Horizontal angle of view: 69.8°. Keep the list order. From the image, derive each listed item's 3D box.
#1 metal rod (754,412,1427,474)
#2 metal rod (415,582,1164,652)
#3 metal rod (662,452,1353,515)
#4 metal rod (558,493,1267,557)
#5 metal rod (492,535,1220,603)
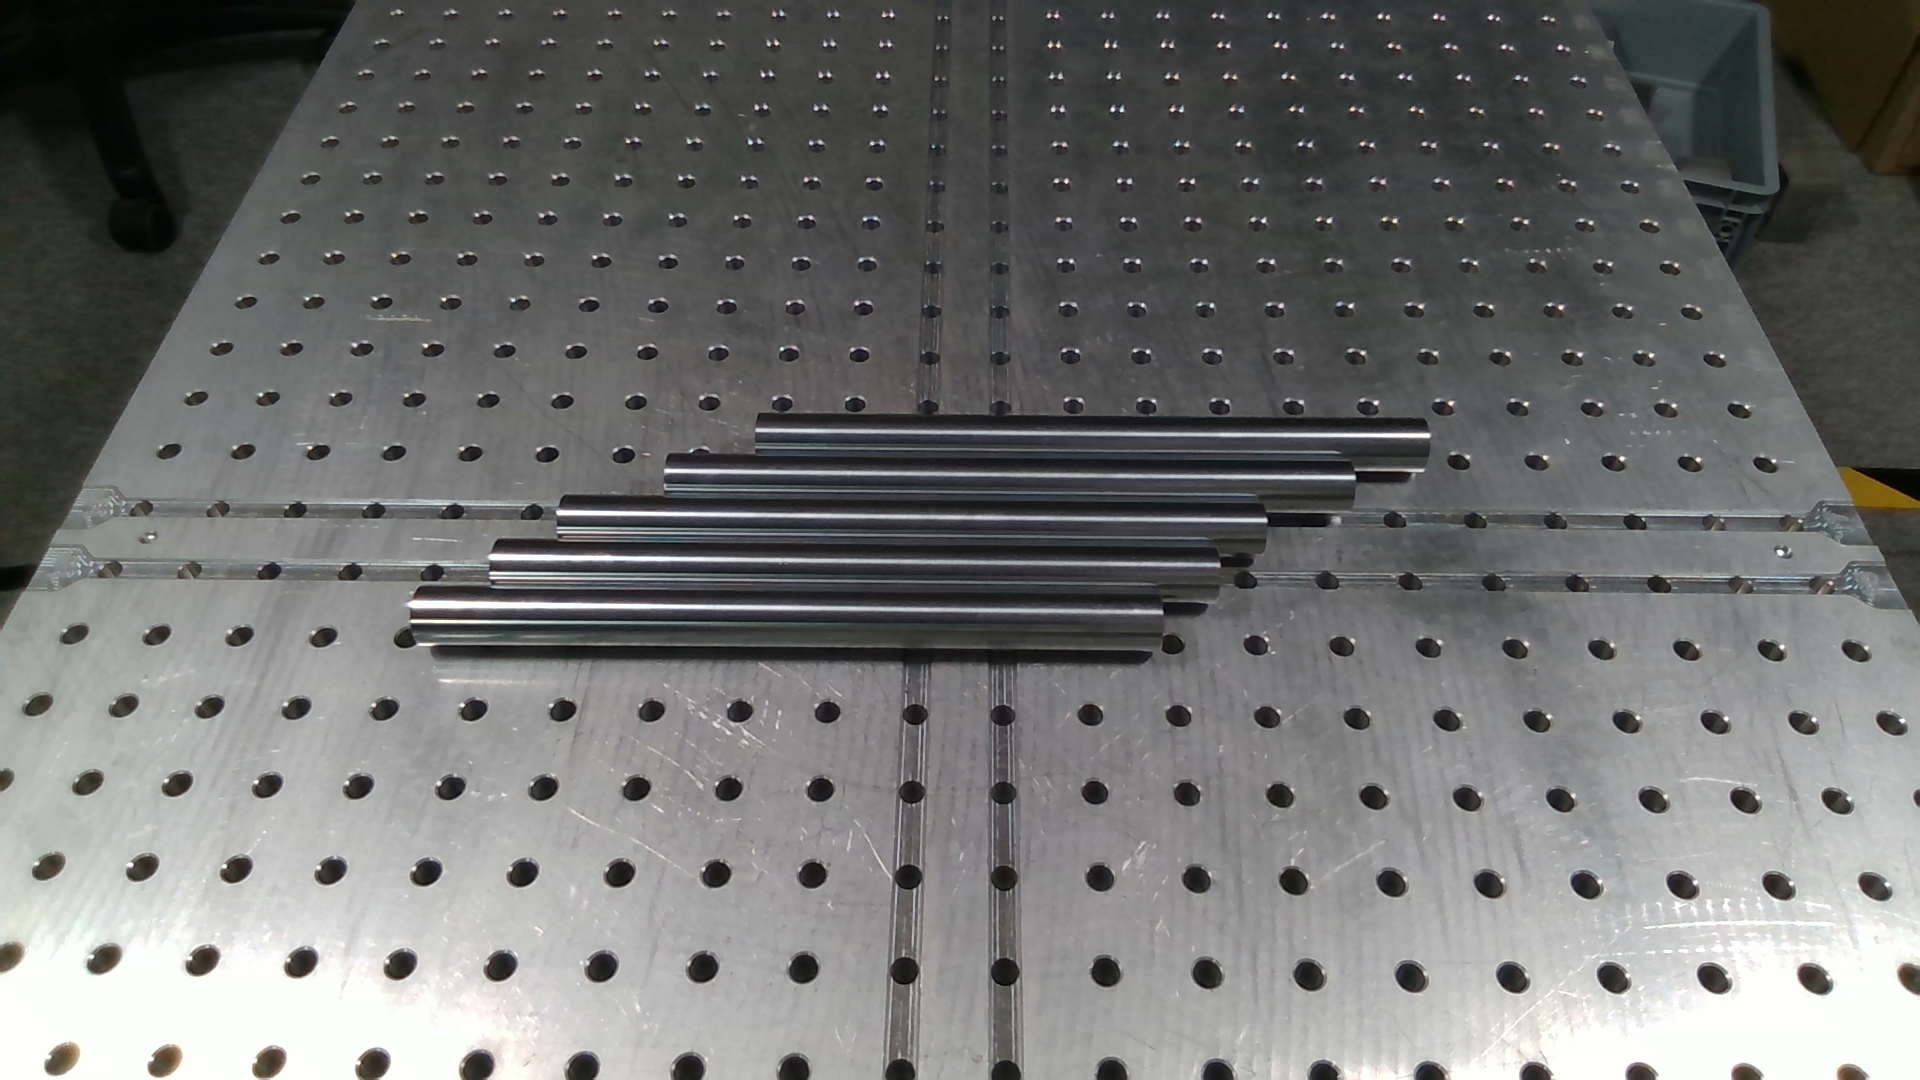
[{"bbox_3d":[0.058,-0.044,0.627,0.300,0.025,0.025,1,50,1],"label":"metal rod"},{"bbox_3d":[-0.069,0.031,0.563,0.300,0.025,0.025,1,50,1],"label":"metal rod"},{"bbox_3d":[0.020,-0.025,0.610,0.300,0.025,0.025,1,50,1],"label":"metal rod"},{"bbox_3d":[-0.021,-0.006,0.595,0.300,0.025,0.025,1,50,1],"label":"metal rod"},{"bbox_3d":[-0.043,0.012,0.579,0.300,0.025,0.025,1,50,1],"label":"metal rod"}]
